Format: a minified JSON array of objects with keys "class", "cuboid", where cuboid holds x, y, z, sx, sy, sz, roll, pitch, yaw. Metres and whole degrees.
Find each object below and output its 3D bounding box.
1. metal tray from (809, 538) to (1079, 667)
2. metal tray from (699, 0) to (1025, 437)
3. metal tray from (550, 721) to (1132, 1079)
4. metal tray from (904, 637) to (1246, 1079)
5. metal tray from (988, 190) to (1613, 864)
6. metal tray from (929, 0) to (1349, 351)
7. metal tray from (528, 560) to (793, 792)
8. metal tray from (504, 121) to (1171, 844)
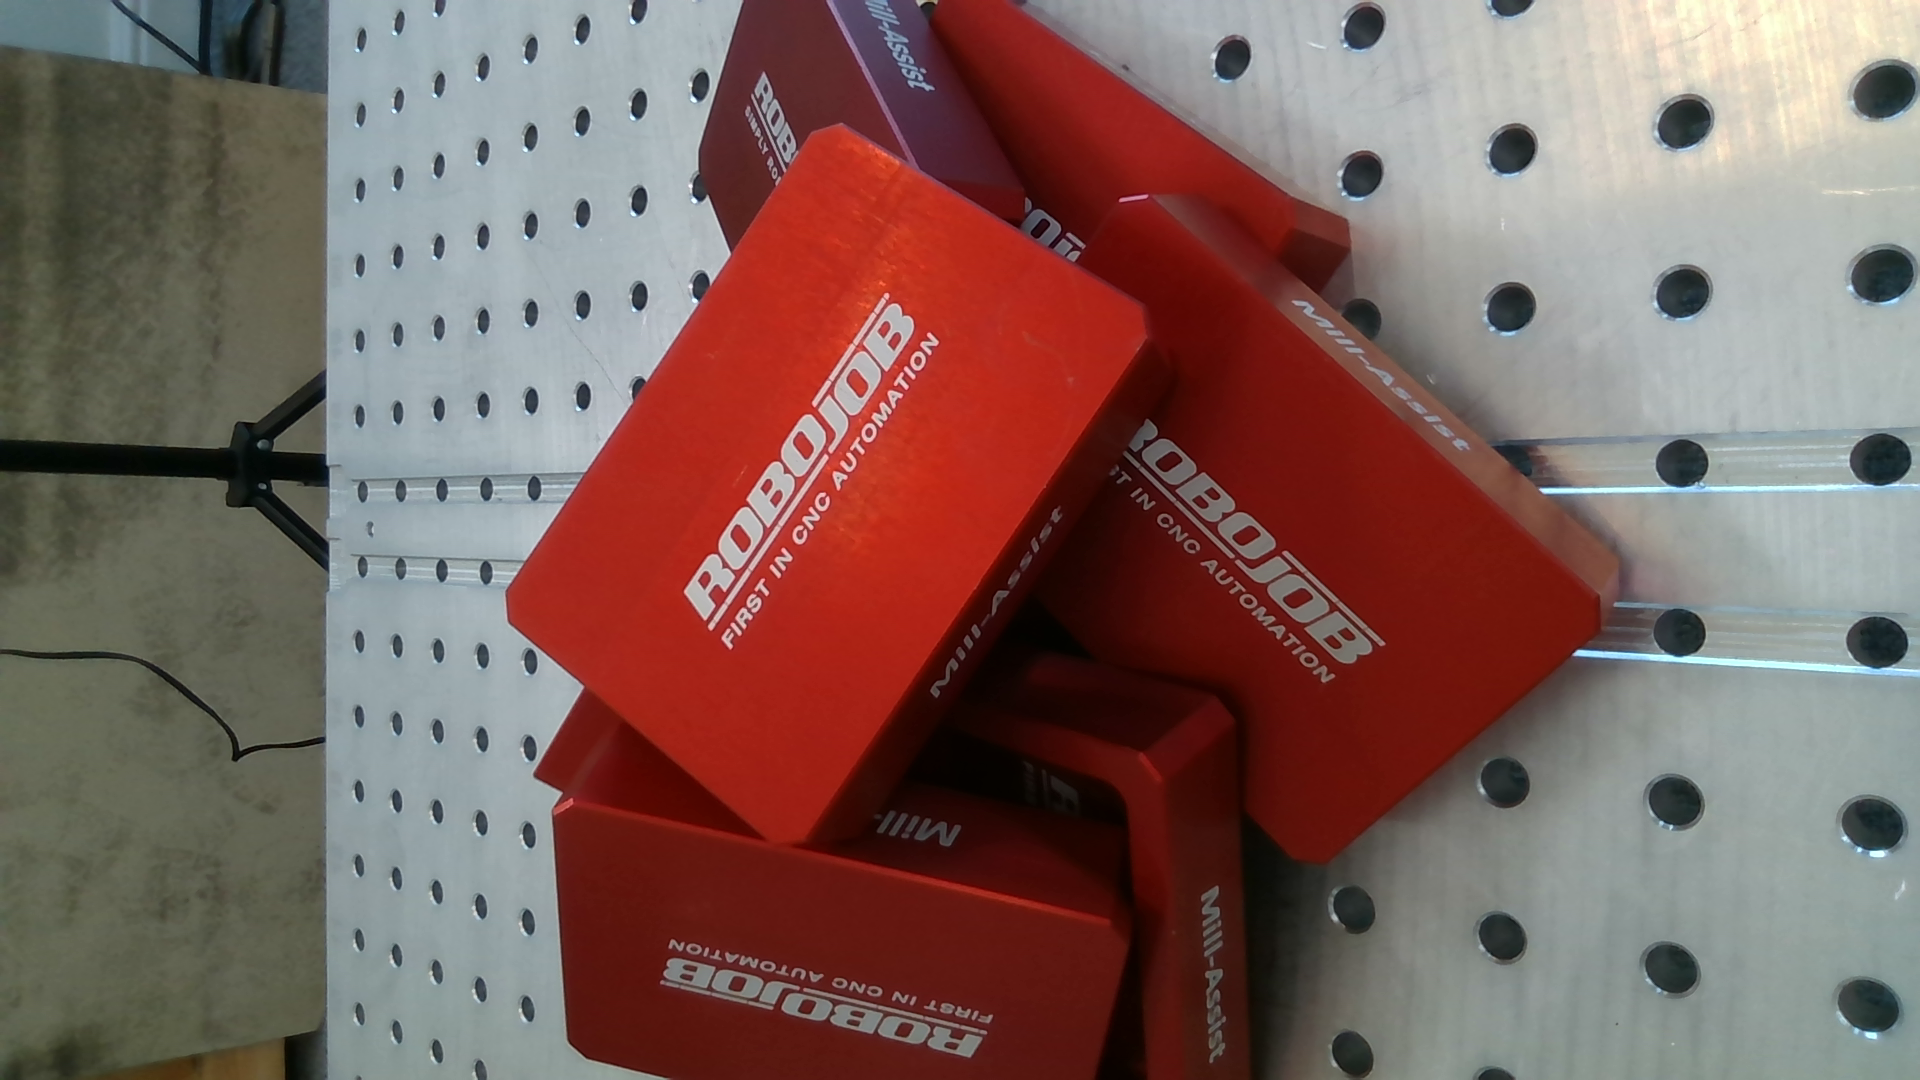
[{"class":"metal tray","cuboid":[-0.023,0.053,0.372,0.130,0.090,0.030,-53,59,26]},{"class":"metal tray","cuboid":[-0.034,-0.102,0.388,0.090,0.030,0.130,-60,43,42]},{"class":"metal tray","cuboid":[-0.030,0.099,0.334,0.130,0.030,0.090,11,124,6]},{"class":"metal tray","cuboid":[0.024,0.092,0.342,0.090,0.030,0.130,13,119,39]},{"class":"metal tray","cuboid":[0.064,-0.004,0.311,0.130,0.030,0.090,46,121,14]},{"class":"metal tray","cuboid":[0.026,-0.079,0.367,0.130,0.030,0.090,46,118,30]},{"class":"metal tray","cuboid":[-0.070,0.008,0.392,0.030,0.130,0.090,30,117,-9]},{"class":"metal tray","cuboid":[-0.027,-0.012,0.298,0.090,0.030,0.130,35,93,20]}]
